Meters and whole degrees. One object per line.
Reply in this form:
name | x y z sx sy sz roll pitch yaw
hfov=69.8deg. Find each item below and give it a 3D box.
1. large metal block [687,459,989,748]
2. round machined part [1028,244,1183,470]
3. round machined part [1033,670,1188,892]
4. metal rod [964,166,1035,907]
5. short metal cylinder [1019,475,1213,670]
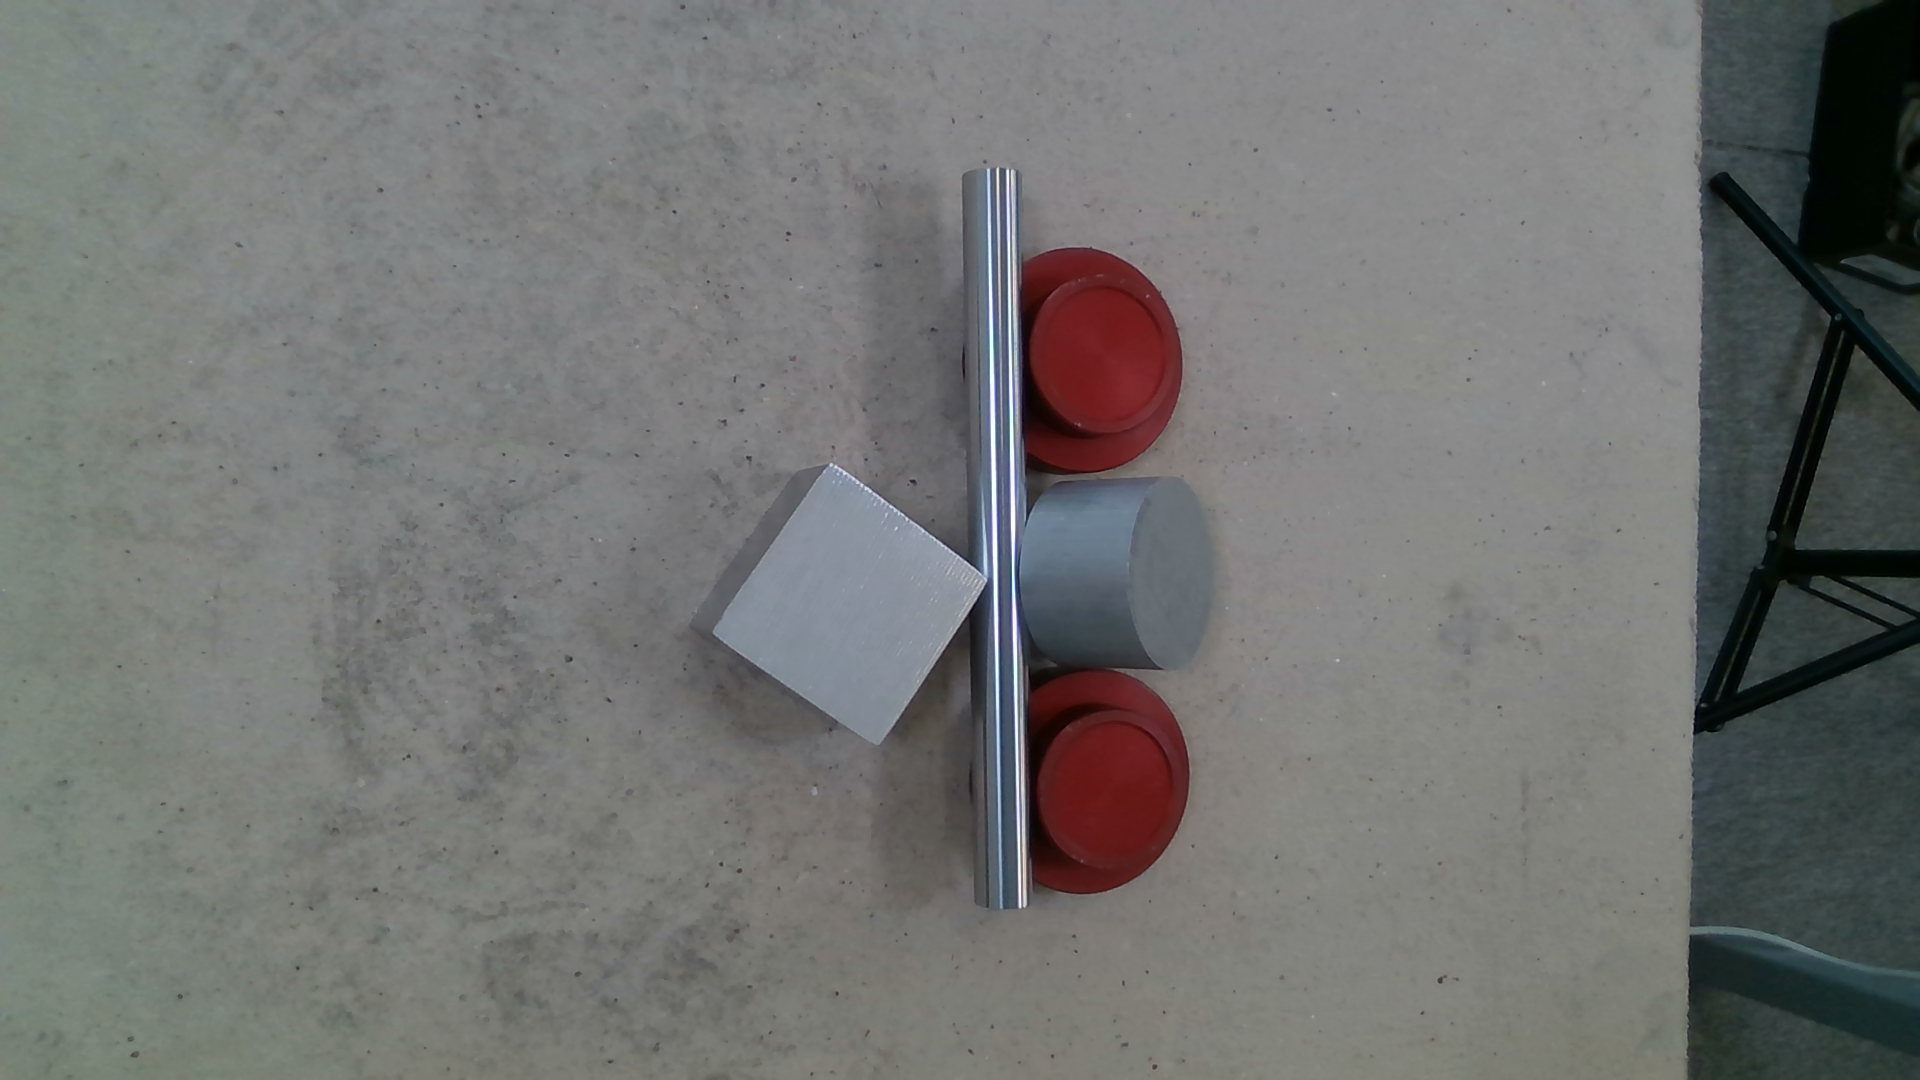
large metal block | -0.049 0.025 0.553 0.080 0.050 0.080 37 78 -17
round machined part | 0.054 -0.079 0.596 0.098 0.042 0.098 0 90 -20
round machined part | 0.057 0.104 0.599 0.098 0.042 0.098 0 90 -20
metal rod | 0.016 -0.001 0.570 0.025 0.025 0.300 -1 91 -20
short metal cylinder | 0.067 0.014 0.578 0.080 0.050 0.080 1 88 -56
